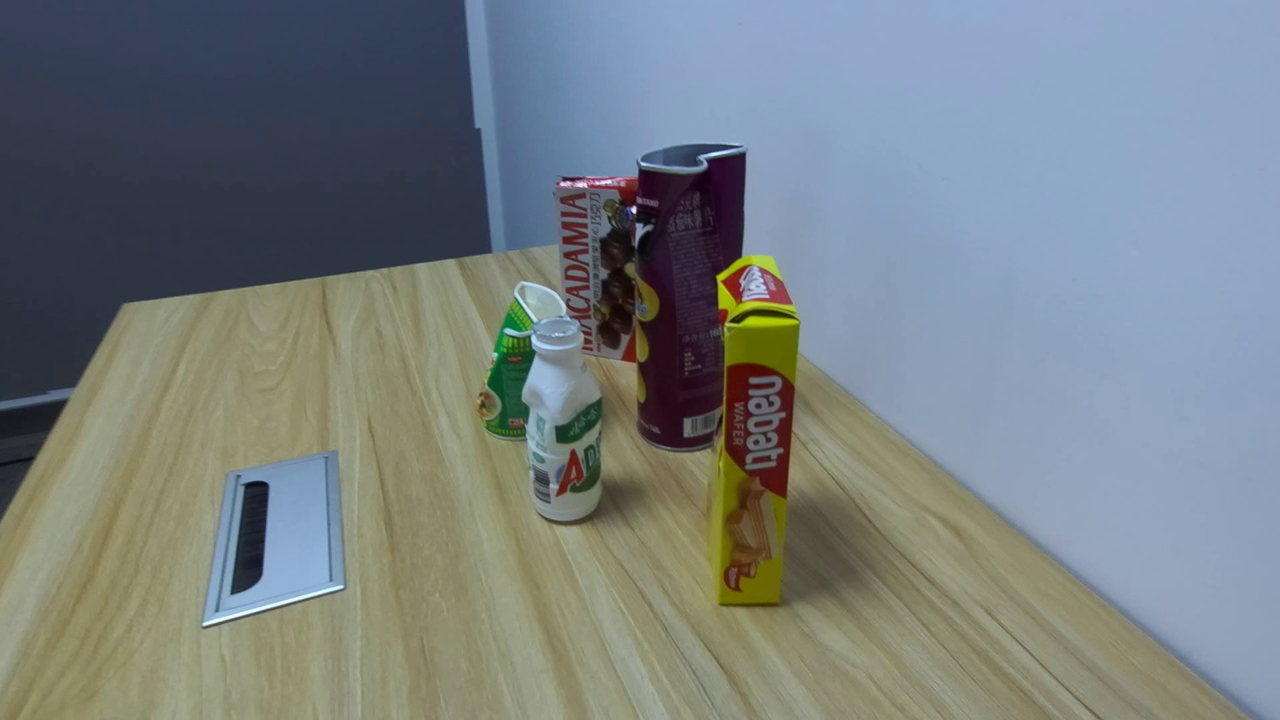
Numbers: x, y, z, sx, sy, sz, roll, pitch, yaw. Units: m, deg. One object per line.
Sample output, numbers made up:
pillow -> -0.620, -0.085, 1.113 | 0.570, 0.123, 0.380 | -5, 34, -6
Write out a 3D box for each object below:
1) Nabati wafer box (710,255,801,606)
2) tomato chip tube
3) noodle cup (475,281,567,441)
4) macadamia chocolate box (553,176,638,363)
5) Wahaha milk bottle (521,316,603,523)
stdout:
Nabati wafer box -> 0.065, 0.042, 0.432 | 0.042, 0.204, 0.107 | -1, 29, 1
tomato chip tube -> 0.039, -0.044, 0.553 | 0.077, 0.235, 0.076 | 7, 31, 10
noodle cup -> -0.103, 0.004, 0.600 | 0.075, 0.122, 0.083 | 24, 29, 20
macadamia chocolate box -> -0.027, -0.085, 0.678 | 0.102, 0.187, 0.027 | 10, 34, 18
Wahaha milk bottle -> -0.054, 0.041, 0.491 | 0.055, 0.149, 0.055 | -1, 29, 1
